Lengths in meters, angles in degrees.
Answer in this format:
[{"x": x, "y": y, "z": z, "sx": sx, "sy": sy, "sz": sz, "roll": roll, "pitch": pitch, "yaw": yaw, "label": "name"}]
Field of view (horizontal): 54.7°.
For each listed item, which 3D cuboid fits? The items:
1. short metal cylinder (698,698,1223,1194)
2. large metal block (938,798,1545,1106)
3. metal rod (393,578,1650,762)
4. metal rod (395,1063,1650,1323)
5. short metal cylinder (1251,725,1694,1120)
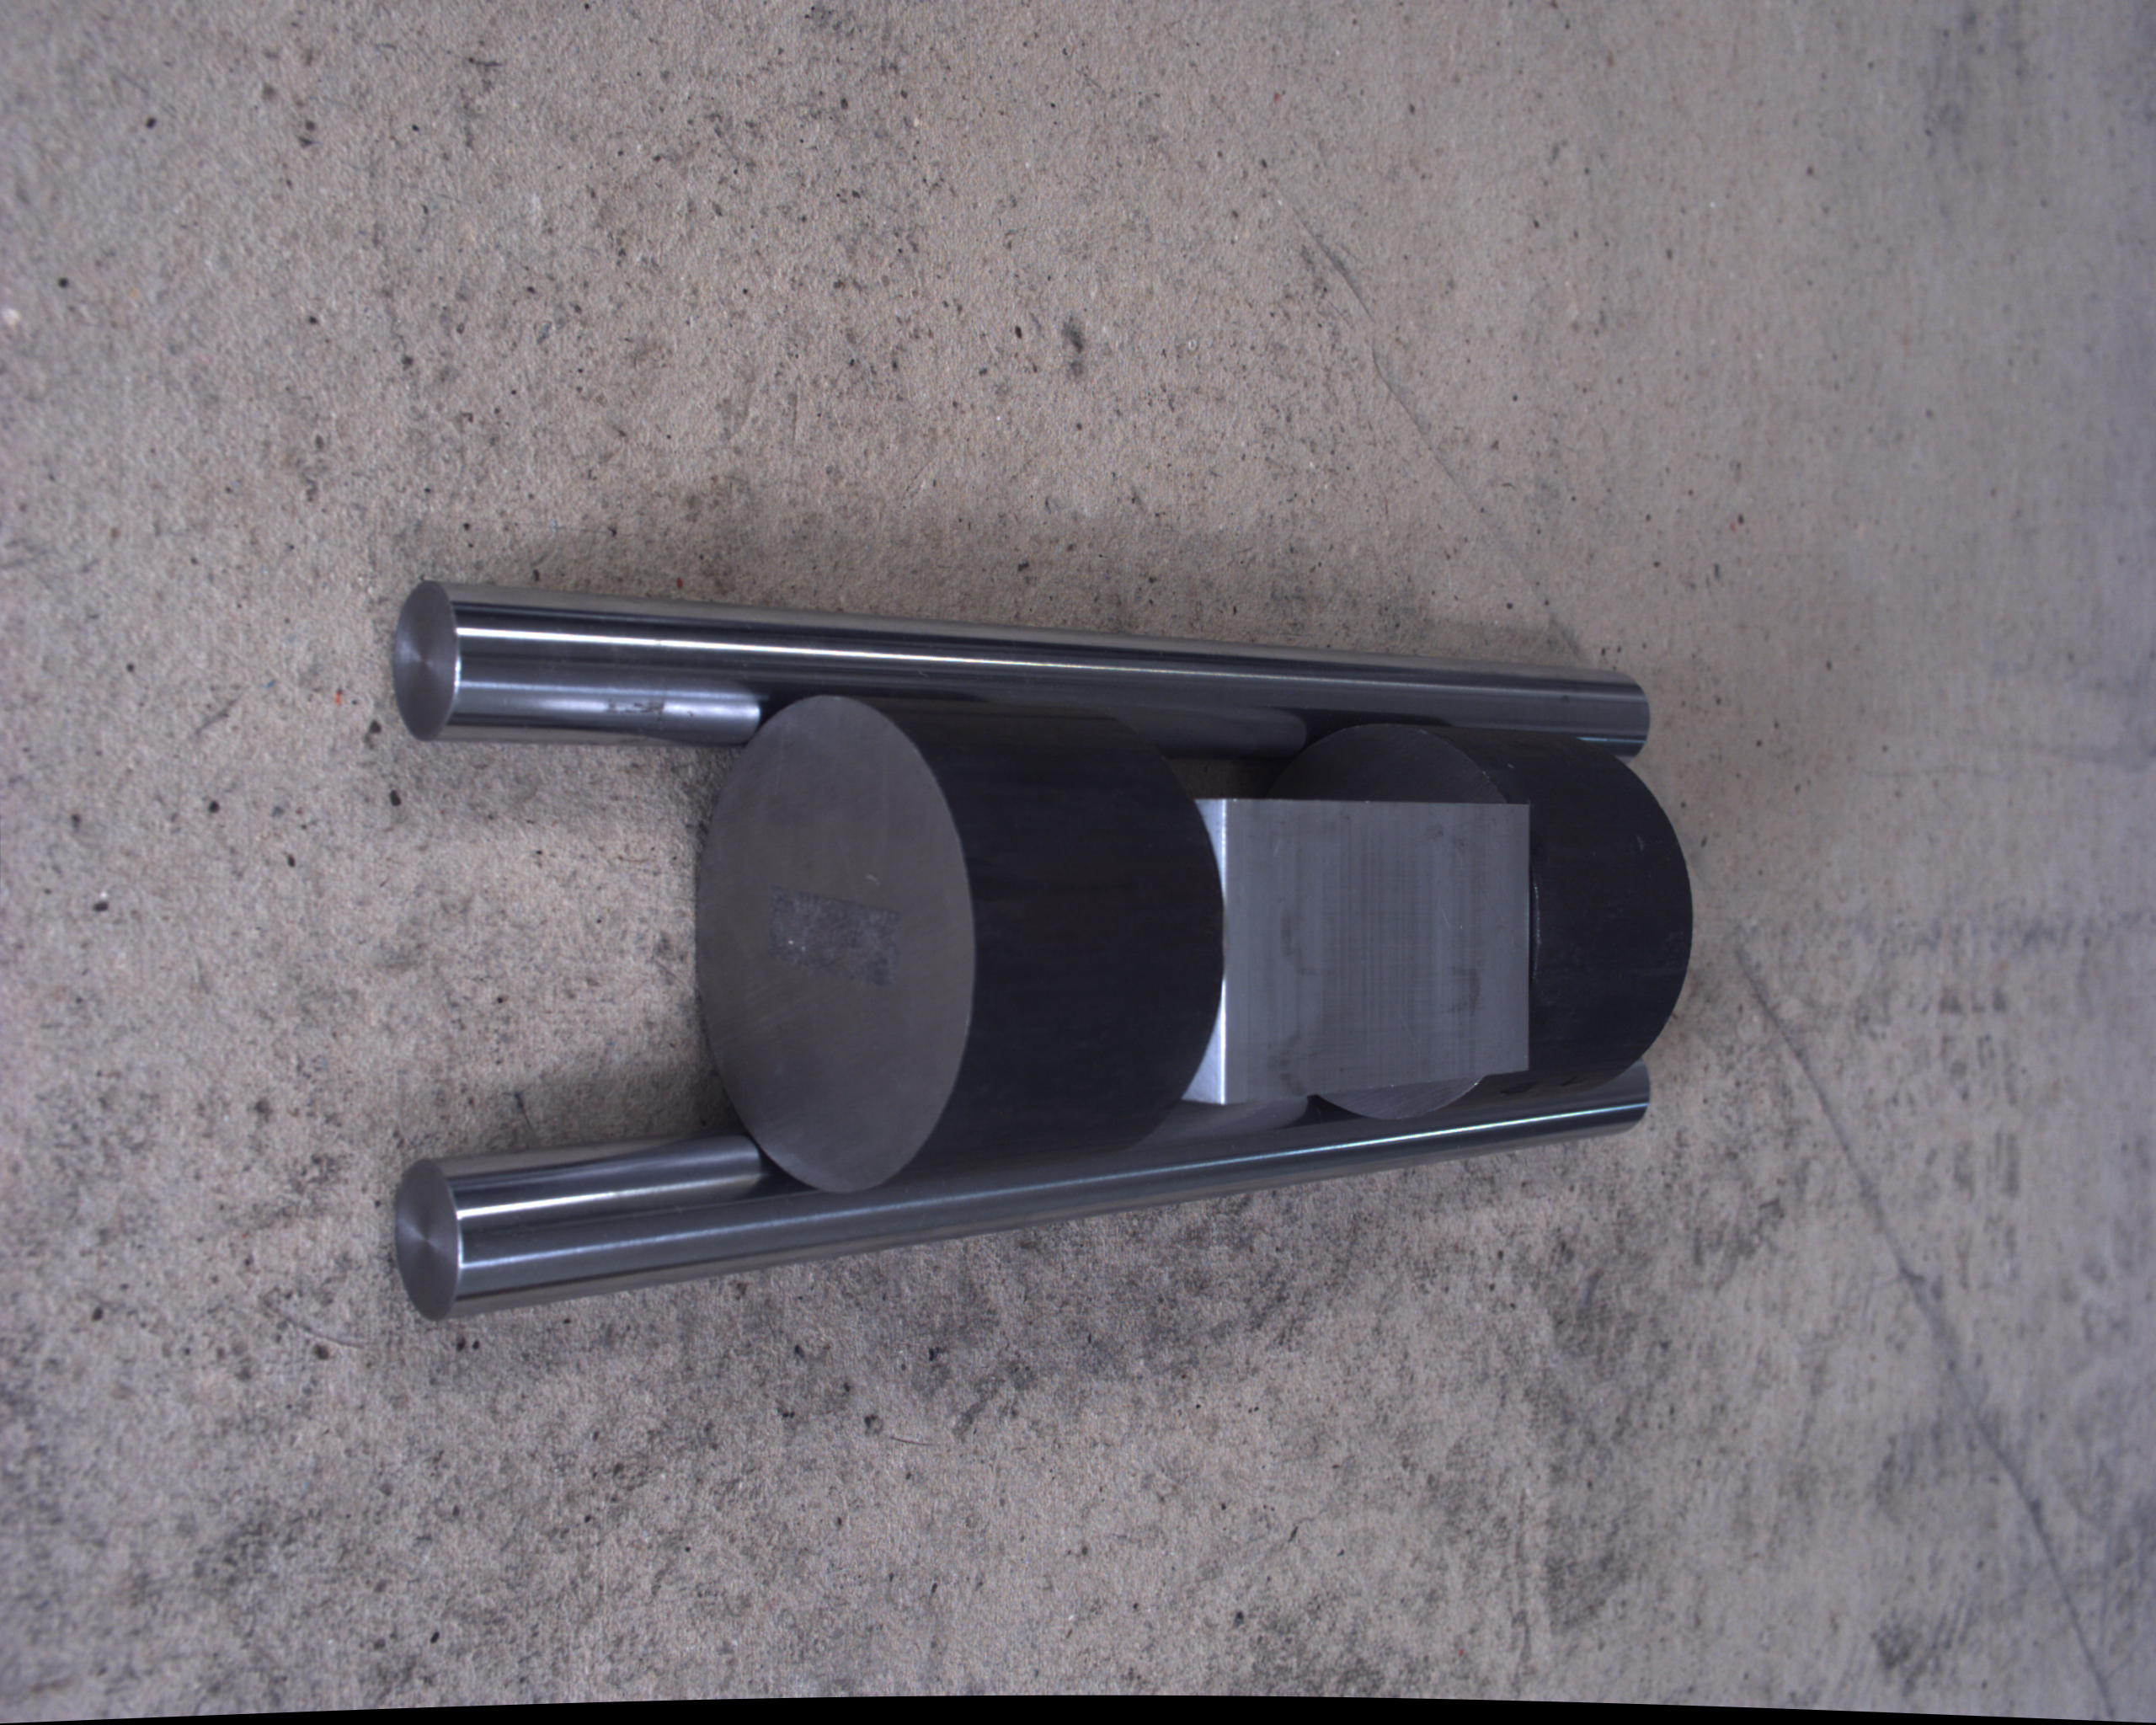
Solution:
[{"x": -0.022, "y": 0.013, "z": 0.352, "sx": 0.050, "sy": 0.080, "sz": 0.079, "roll": -1, "pitch": 91, "yaw": -40, "label": "short metal cylinder"}, {"x": 0.030, "y": 0.014, "z": 0.392, "sx": 0.081, "sy": 0.080, "sz": 0.050, "roll": 0, "pitch": 90, "yaw": -40, "label": "large metal block"}, {"x": 0.015, "y": -0.033, "z": 0.419, "sx": 0.302, "sy": 0.025, "sz": 0.025, "roll": -1, "pitch": 91, "yaw": -40, "label": "metal rod"}, {"x": 0.015, "y": 0.057, "z": 0.419, "sx": 0.302, "sy": 0.025, "sz": 0.025, "roll": -1, "pitch": 91, "yaw": -40, "label": "metal rod"}, {"x": 0.080, "y": 0.012, "z": 0.436, "sx": 0.050, "sy": 0.080, "sz": 0.079, "roll": -1, "pitch": 91, "yaw": -40, "label": "short metal cylinder"}]
